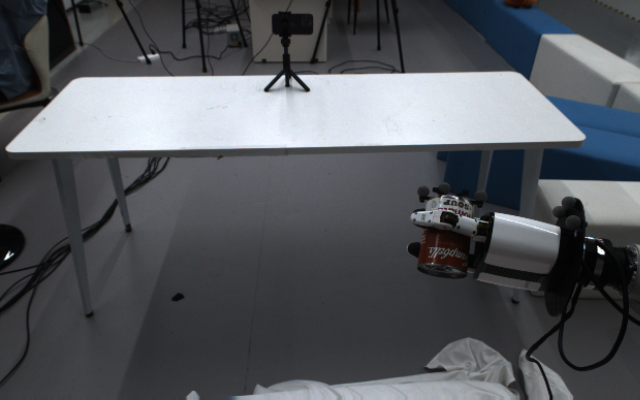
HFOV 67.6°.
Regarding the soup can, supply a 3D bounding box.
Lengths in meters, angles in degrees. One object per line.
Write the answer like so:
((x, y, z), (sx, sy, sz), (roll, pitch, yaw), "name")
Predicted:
((0.177, 0.051, 0.673), (0.067, 0.067, 0.101), (9, 70, 10), "soup can")
